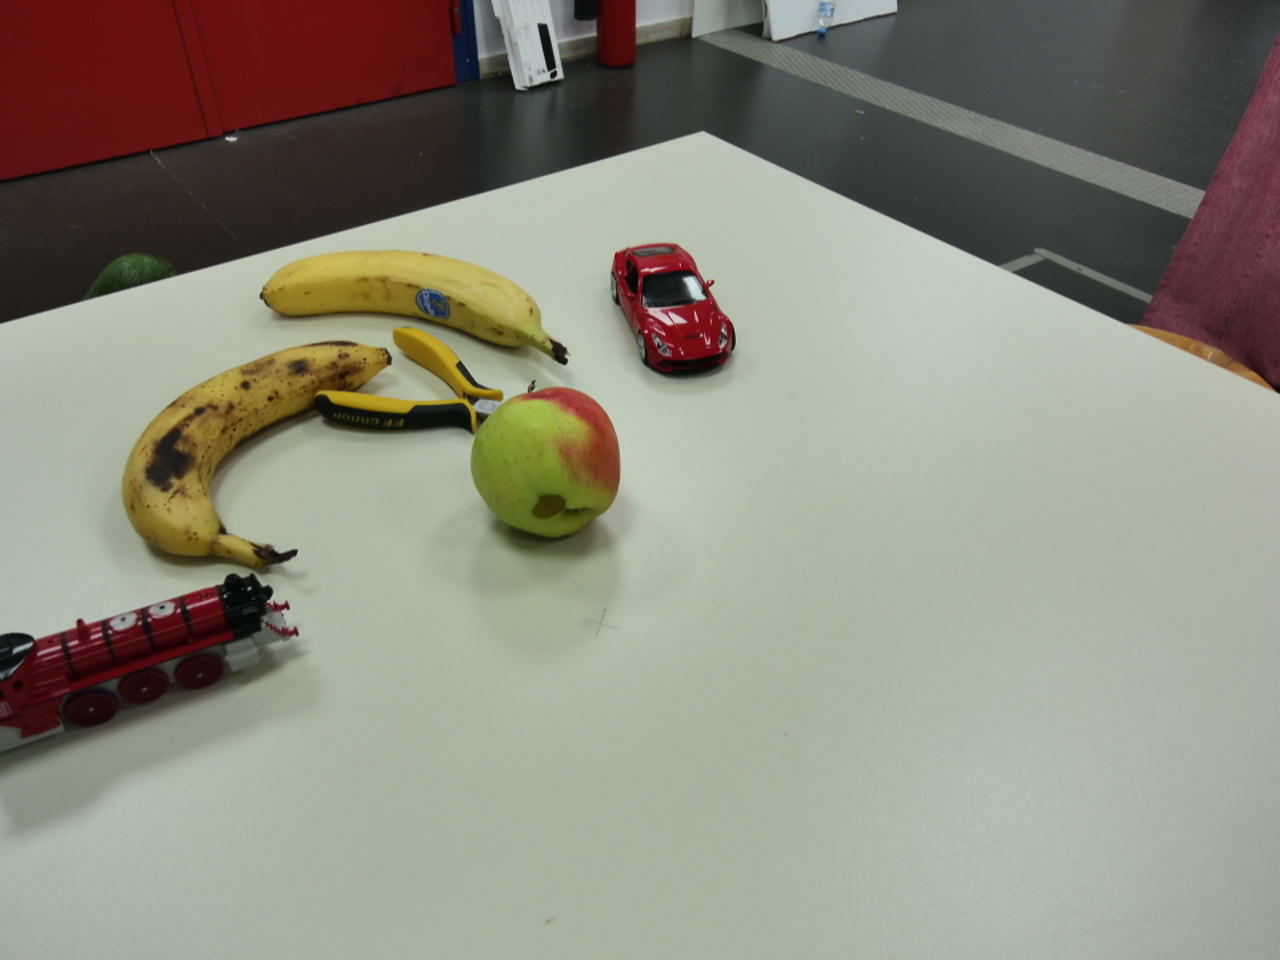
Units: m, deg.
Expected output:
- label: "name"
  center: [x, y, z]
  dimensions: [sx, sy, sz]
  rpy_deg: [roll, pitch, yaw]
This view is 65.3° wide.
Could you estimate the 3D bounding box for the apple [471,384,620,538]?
- label: "apple"
  center: [-0.046, -0.011, 0.504]
  dimensions: [0.075, 0.074, 0.075]
  rpy_deg: [22, 42, 25]
